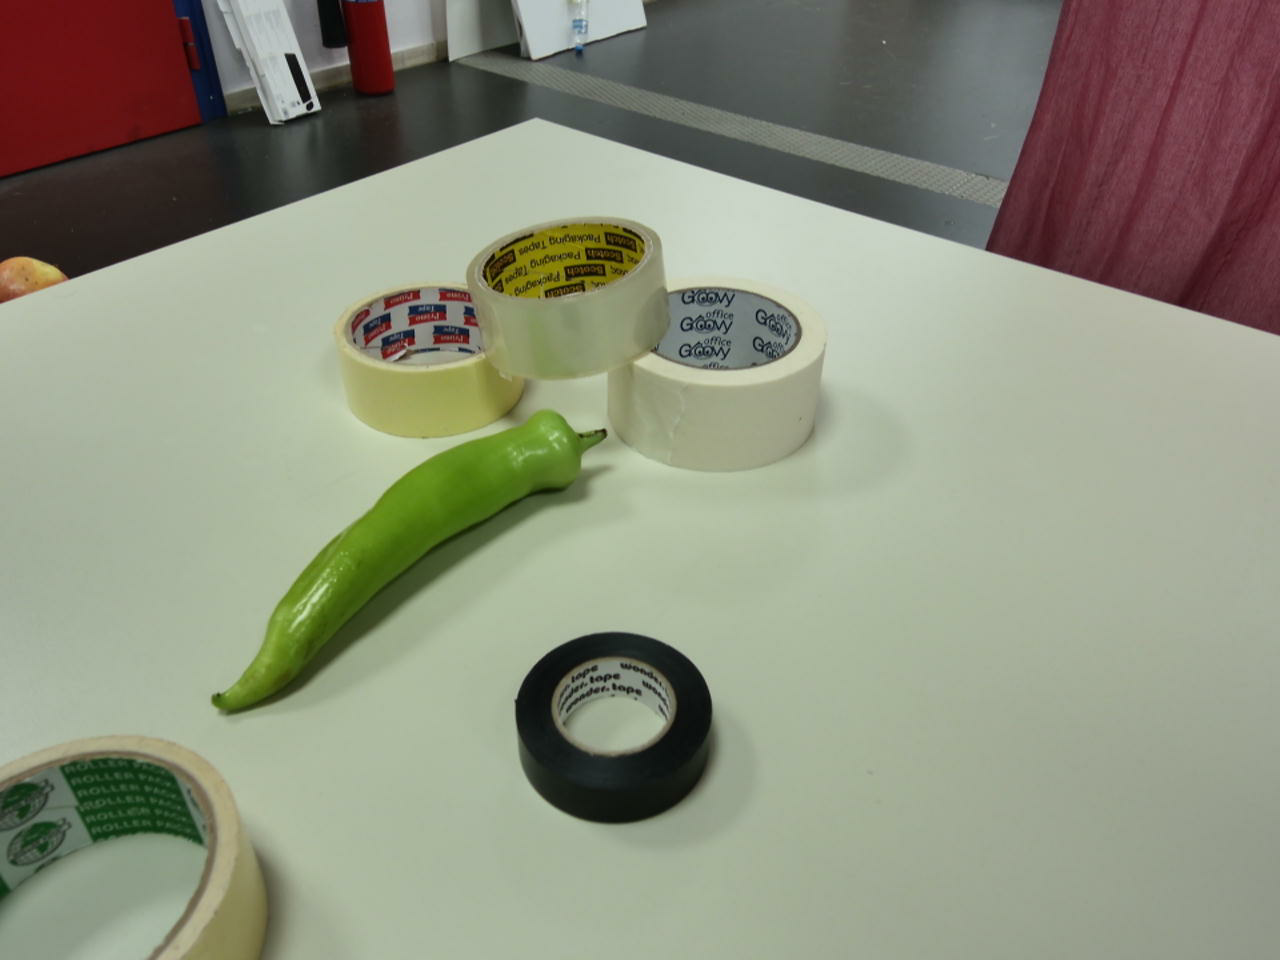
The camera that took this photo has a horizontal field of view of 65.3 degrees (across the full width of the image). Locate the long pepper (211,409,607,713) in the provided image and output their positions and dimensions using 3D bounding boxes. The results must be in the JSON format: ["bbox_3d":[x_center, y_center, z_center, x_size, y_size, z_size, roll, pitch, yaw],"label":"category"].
[{"bbox_3d":[-0.089,0.018,0.399,0.047,0.038,0.197,27,43,31],"label":"long pepper"}]
